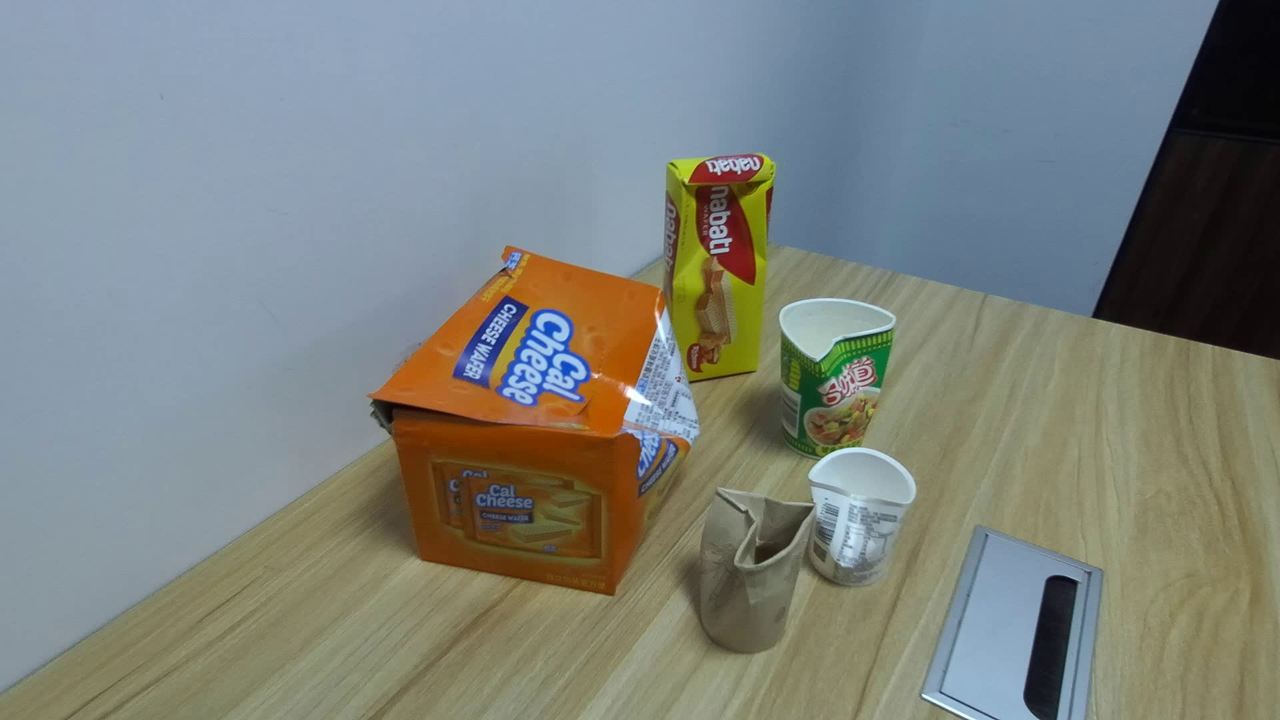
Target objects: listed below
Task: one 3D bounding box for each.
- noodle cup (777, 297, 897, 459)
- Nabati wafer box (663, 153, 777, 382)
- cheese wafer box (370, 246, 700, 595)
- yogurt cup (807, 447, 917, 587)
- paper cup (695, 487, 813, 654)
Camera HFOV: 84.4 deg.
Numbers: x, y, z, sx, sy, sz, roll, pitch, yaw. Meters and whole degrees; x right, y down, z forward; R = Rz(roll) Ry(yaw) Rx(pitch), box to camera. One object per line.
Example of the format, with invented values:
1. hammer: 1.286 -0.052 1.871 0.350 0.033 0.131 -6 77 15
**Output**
1. noodle cup: 0.157 0.016 0.581 0.094 0.109 0.086 -8 34 -11
2. Nabati wafer box: 0.069 -0.078 0.640 0.097 0.203 0.042 -8 30 -16
3. cheese wafer box: -0.051 0.032 0.527 0.191 0.145 0.219 7 34 11
4. yogurt cup: 0.145 0.107 0.476 0.067 0.070 0.067 0 29 0
5. paper cup: 0.063 0.128 0.430 0.058 0.083 0.066 18 36 29
